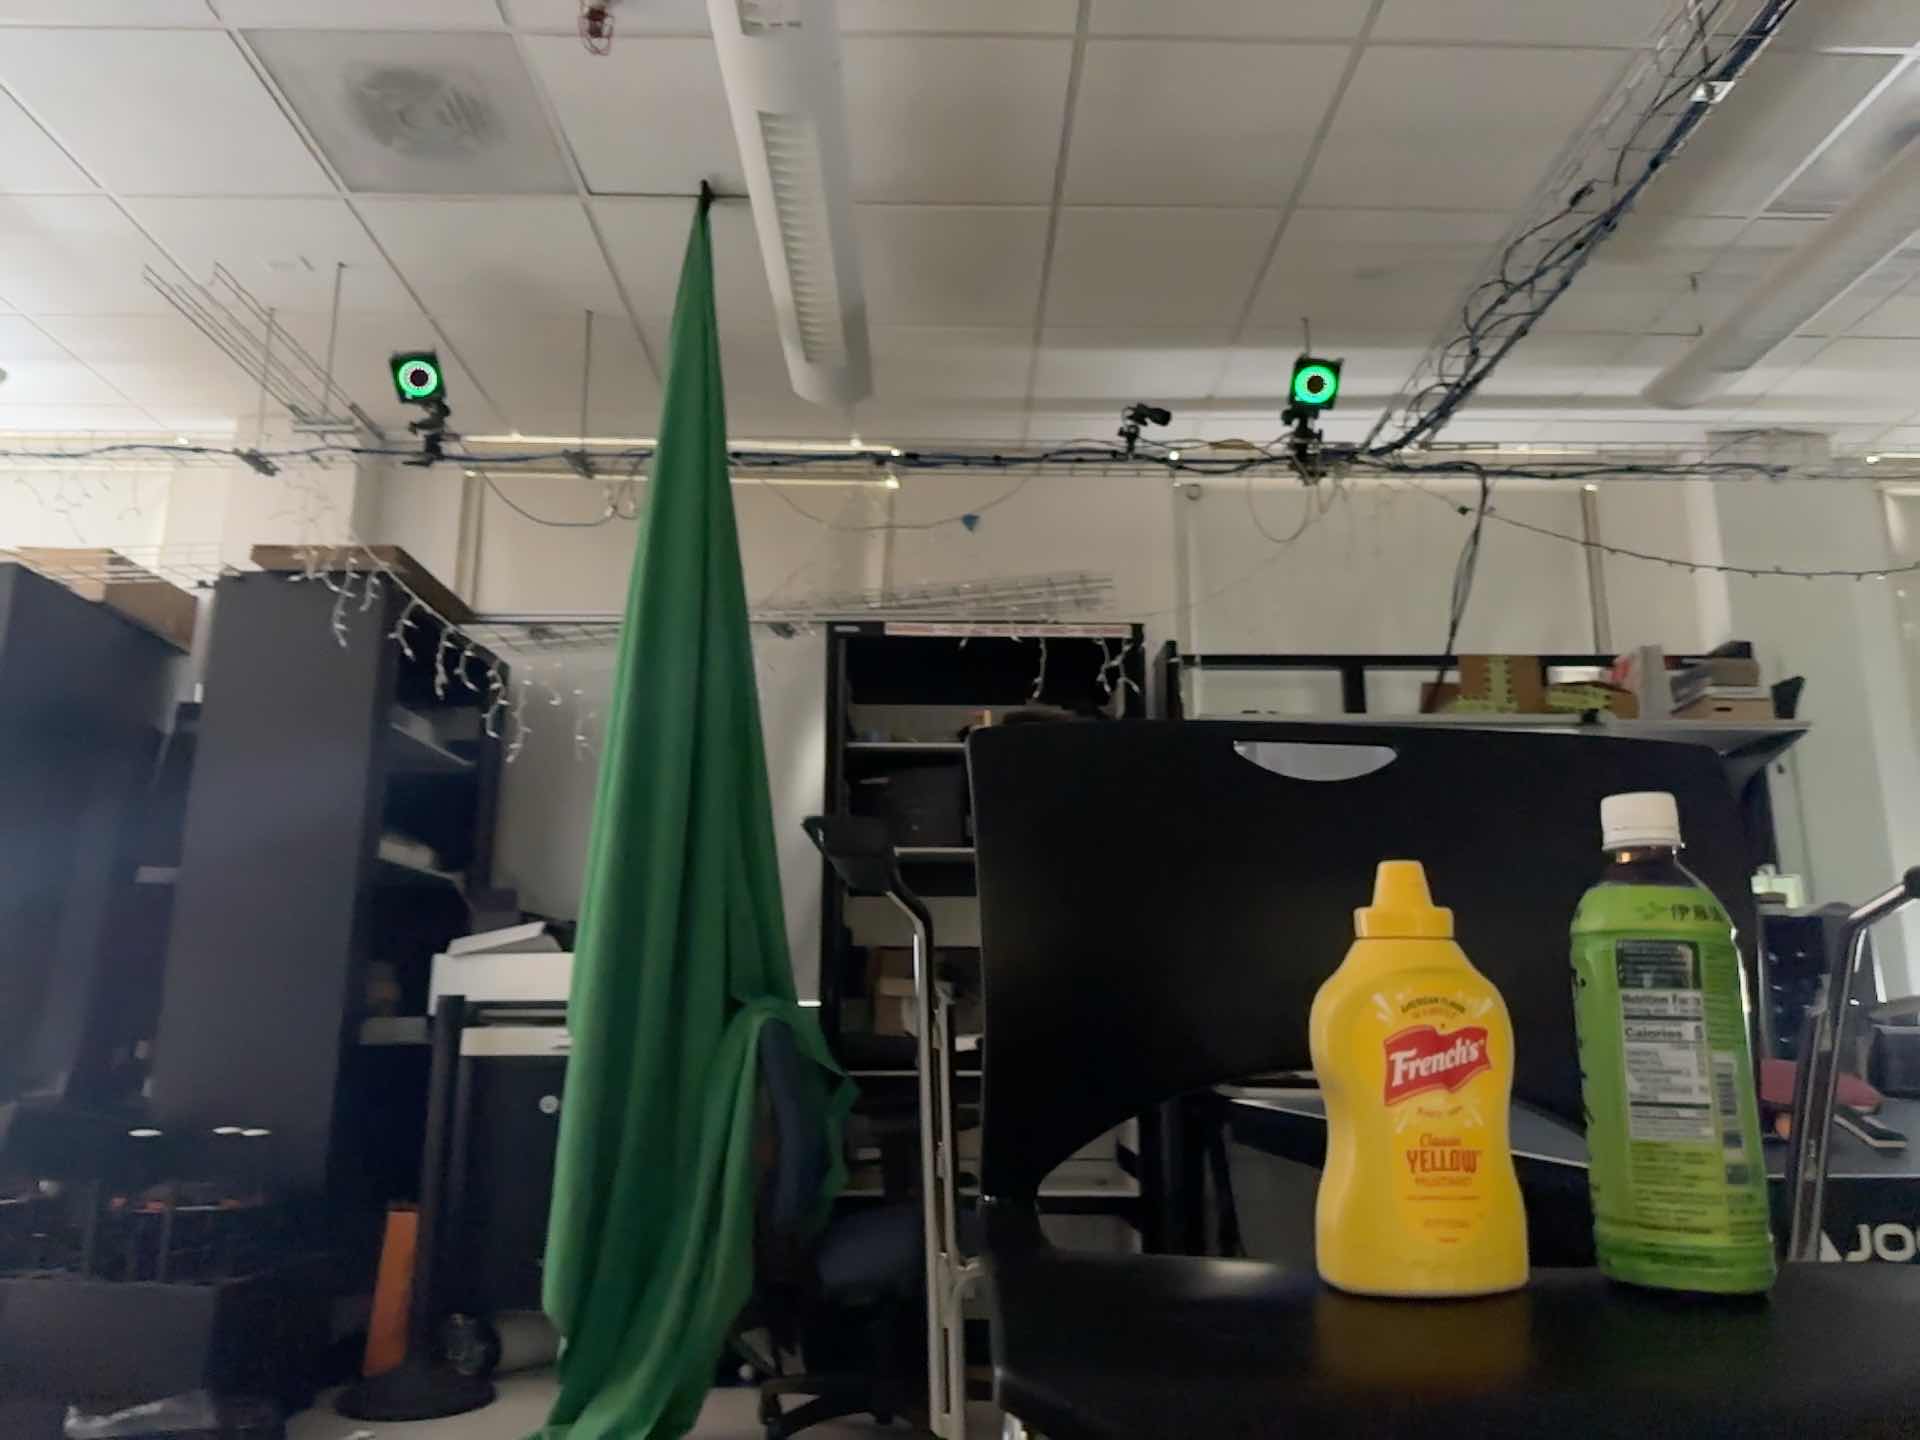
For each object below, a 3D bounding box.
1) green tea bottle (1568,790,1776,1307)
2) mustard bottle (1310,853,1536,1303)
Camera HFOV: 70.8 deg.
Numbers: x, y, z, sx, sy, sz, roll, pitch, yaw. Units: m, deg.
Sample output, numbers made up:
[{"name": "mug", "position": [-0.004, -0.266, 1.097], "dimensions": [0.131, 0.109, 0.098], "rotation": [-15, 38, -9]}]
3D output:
[{"name": "green tea bottle", "position": [0.306, 0.137, 0.587], "dimensions": [0.073, 0.212, 0.073], "rotation": [2, -9, 0]}, {"name": "mustard bottle", "position": [0.196, 0.150, 0.585], "dimensions": [0.092, 0.184, 0.054], "rotation": [1, -10, -5]}]
